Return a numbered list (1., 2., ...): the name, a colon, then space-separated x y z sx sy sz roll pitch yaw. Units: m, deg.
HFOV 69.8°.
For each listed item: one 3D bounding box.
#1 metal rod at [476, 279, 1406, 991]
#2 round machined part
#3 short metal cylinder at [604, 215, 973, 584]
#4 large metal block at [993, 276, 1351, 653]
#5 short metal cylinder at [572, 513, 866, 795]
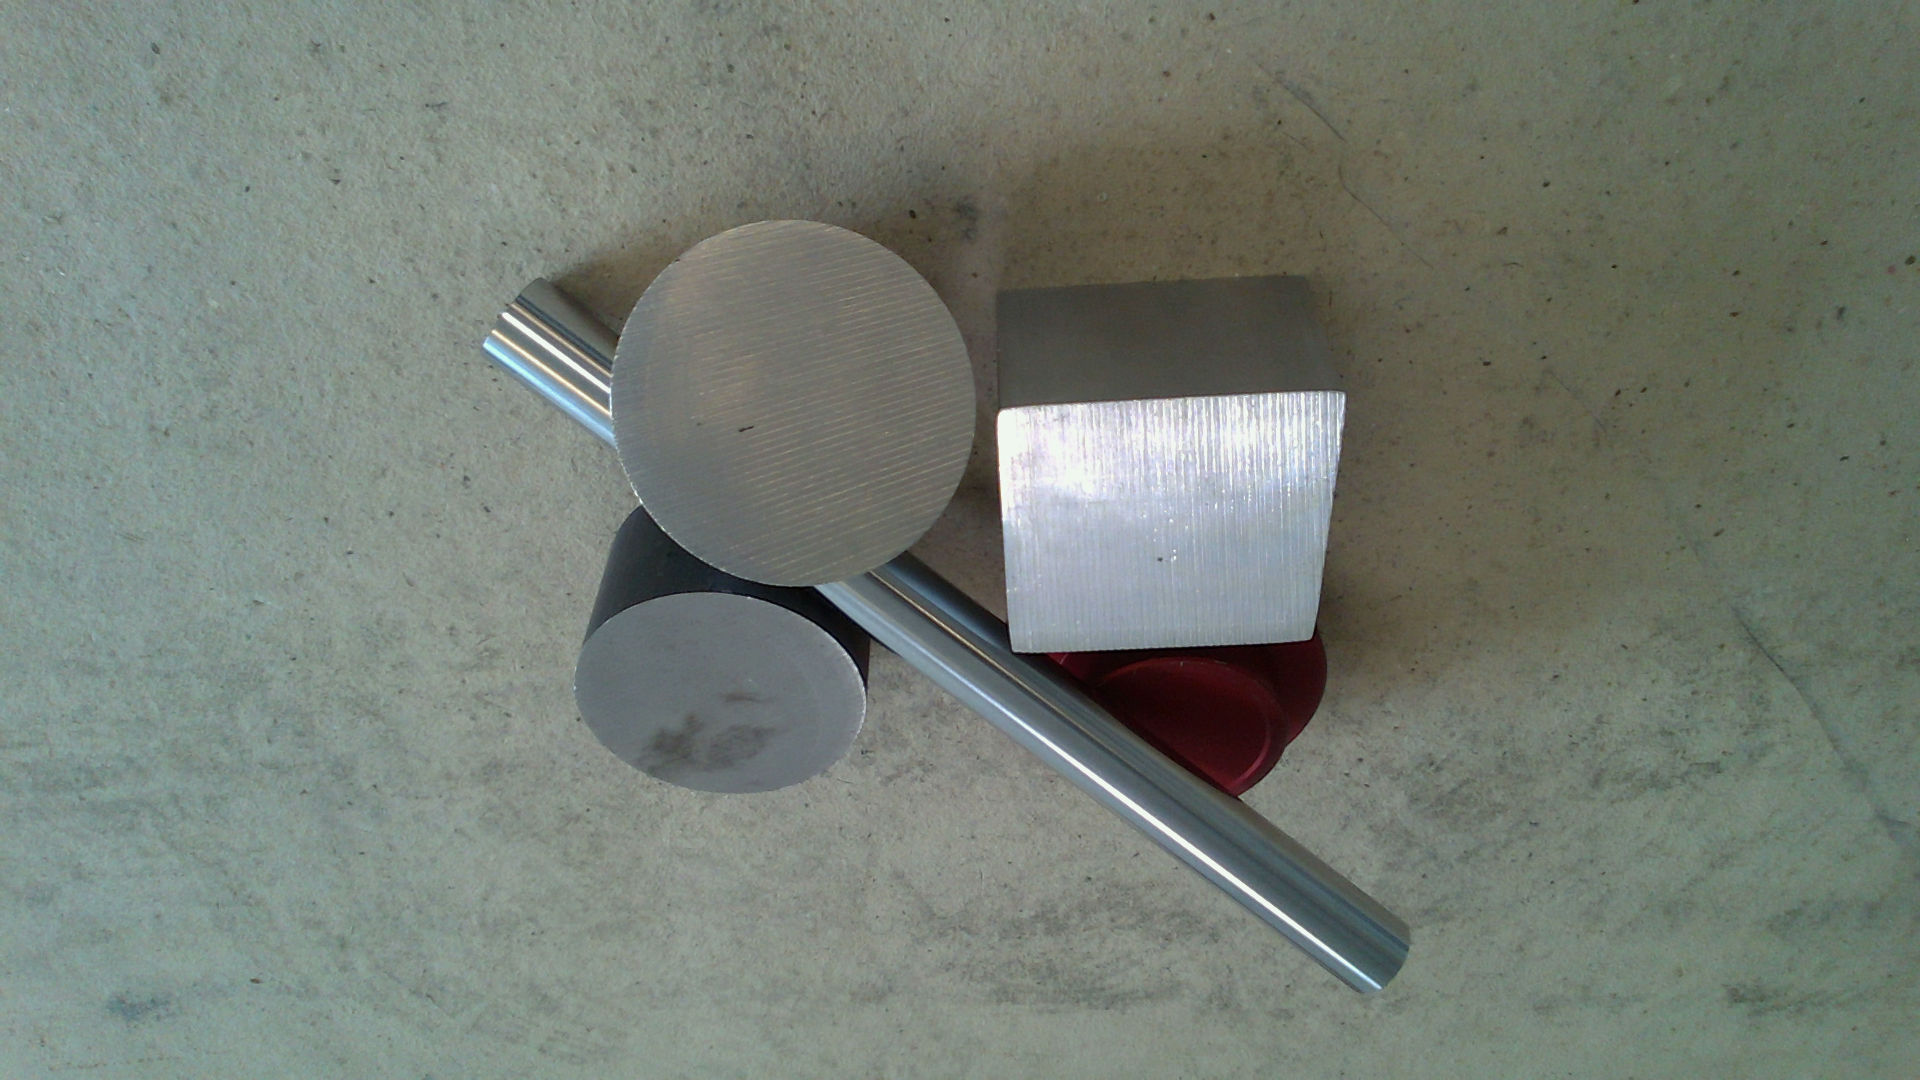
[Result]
1. metal rod: 0.004 0.033 0.374 0.300 0.025 0.025 37 122 -12
2. round machined part: 0.062 0.047 0.418 0.098 0.042 0.098 0 130 0
3. short metal cylinder: -0.042 -0.031 0.323 0.080 0.050 0.080 -1 92 -13
4. large metal block: 0.051 -0.018 0.356 0.080 0.050 0.080 -3 130 2
5. short metal cylinder: -0.066 0.029 0.399 0.080 0.050 0.080 0 130 0
